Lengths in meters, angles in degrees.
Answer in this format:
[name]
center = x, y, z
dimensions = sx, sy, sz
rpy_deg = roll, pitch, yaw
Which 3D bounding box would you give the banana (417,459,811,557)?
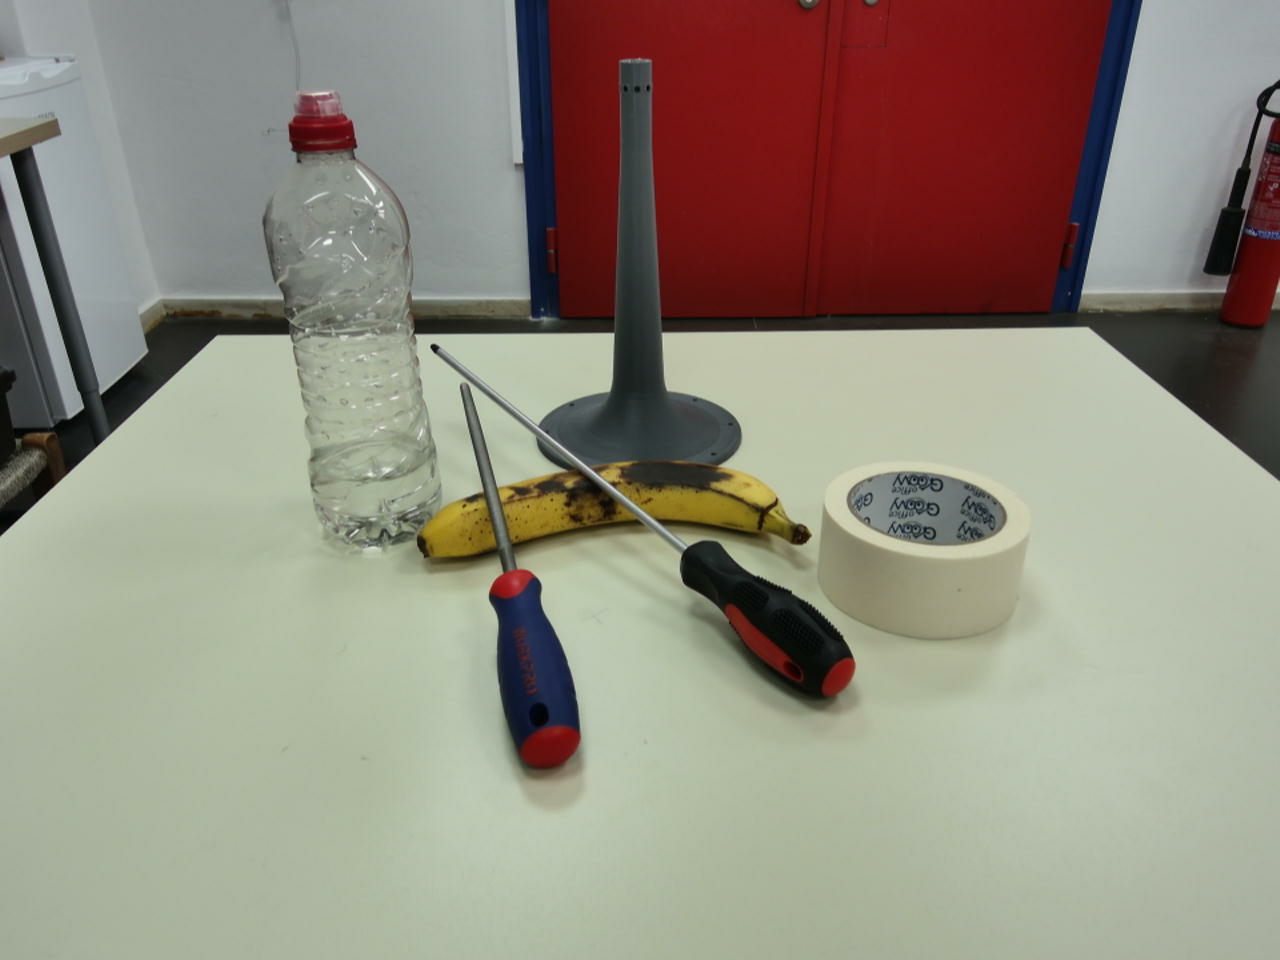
[banana]
center = -0.015, 0.016, 0.598
dimensions = 0.222, 0.037, 0.084
rpy_deg = 0, 26, 0
